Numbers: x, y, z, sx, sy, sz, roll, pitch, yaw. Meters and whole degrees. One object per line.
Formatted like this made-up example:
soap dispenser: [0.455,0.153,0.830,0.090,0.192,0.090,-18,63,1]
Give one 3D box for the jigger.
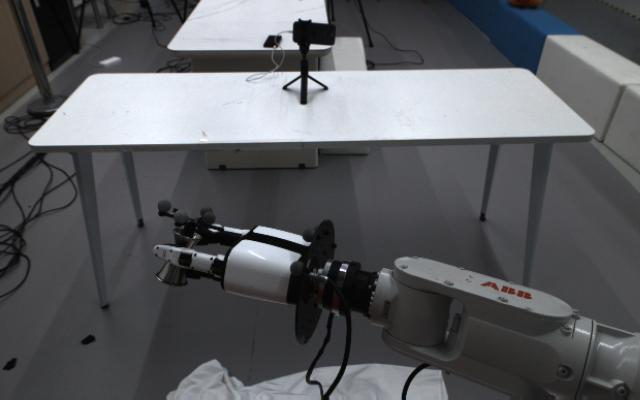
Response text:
jigger: [-0.188,0.075,0.647,0.043,0.071,0.043,21,6,-2]
